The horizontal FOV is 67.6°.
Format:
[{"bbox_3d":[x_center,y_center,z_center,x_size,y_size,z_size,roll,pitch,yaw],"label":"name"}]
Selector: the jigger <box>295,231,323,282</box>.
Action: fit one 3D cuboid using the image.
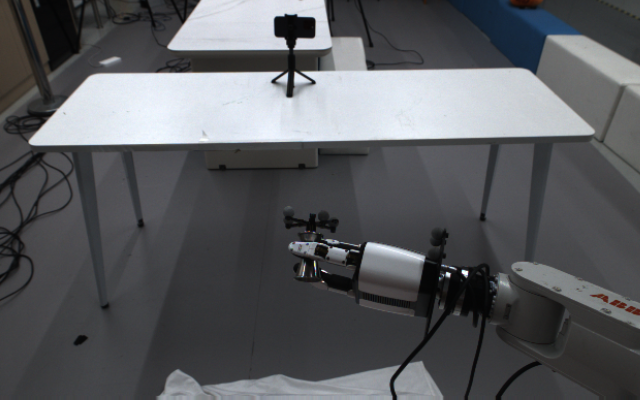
[{"bbox_3d":[-0.017,0.082,0.711,0.043,0.043,0.071,3,72,1],"label":"jigger"}]
